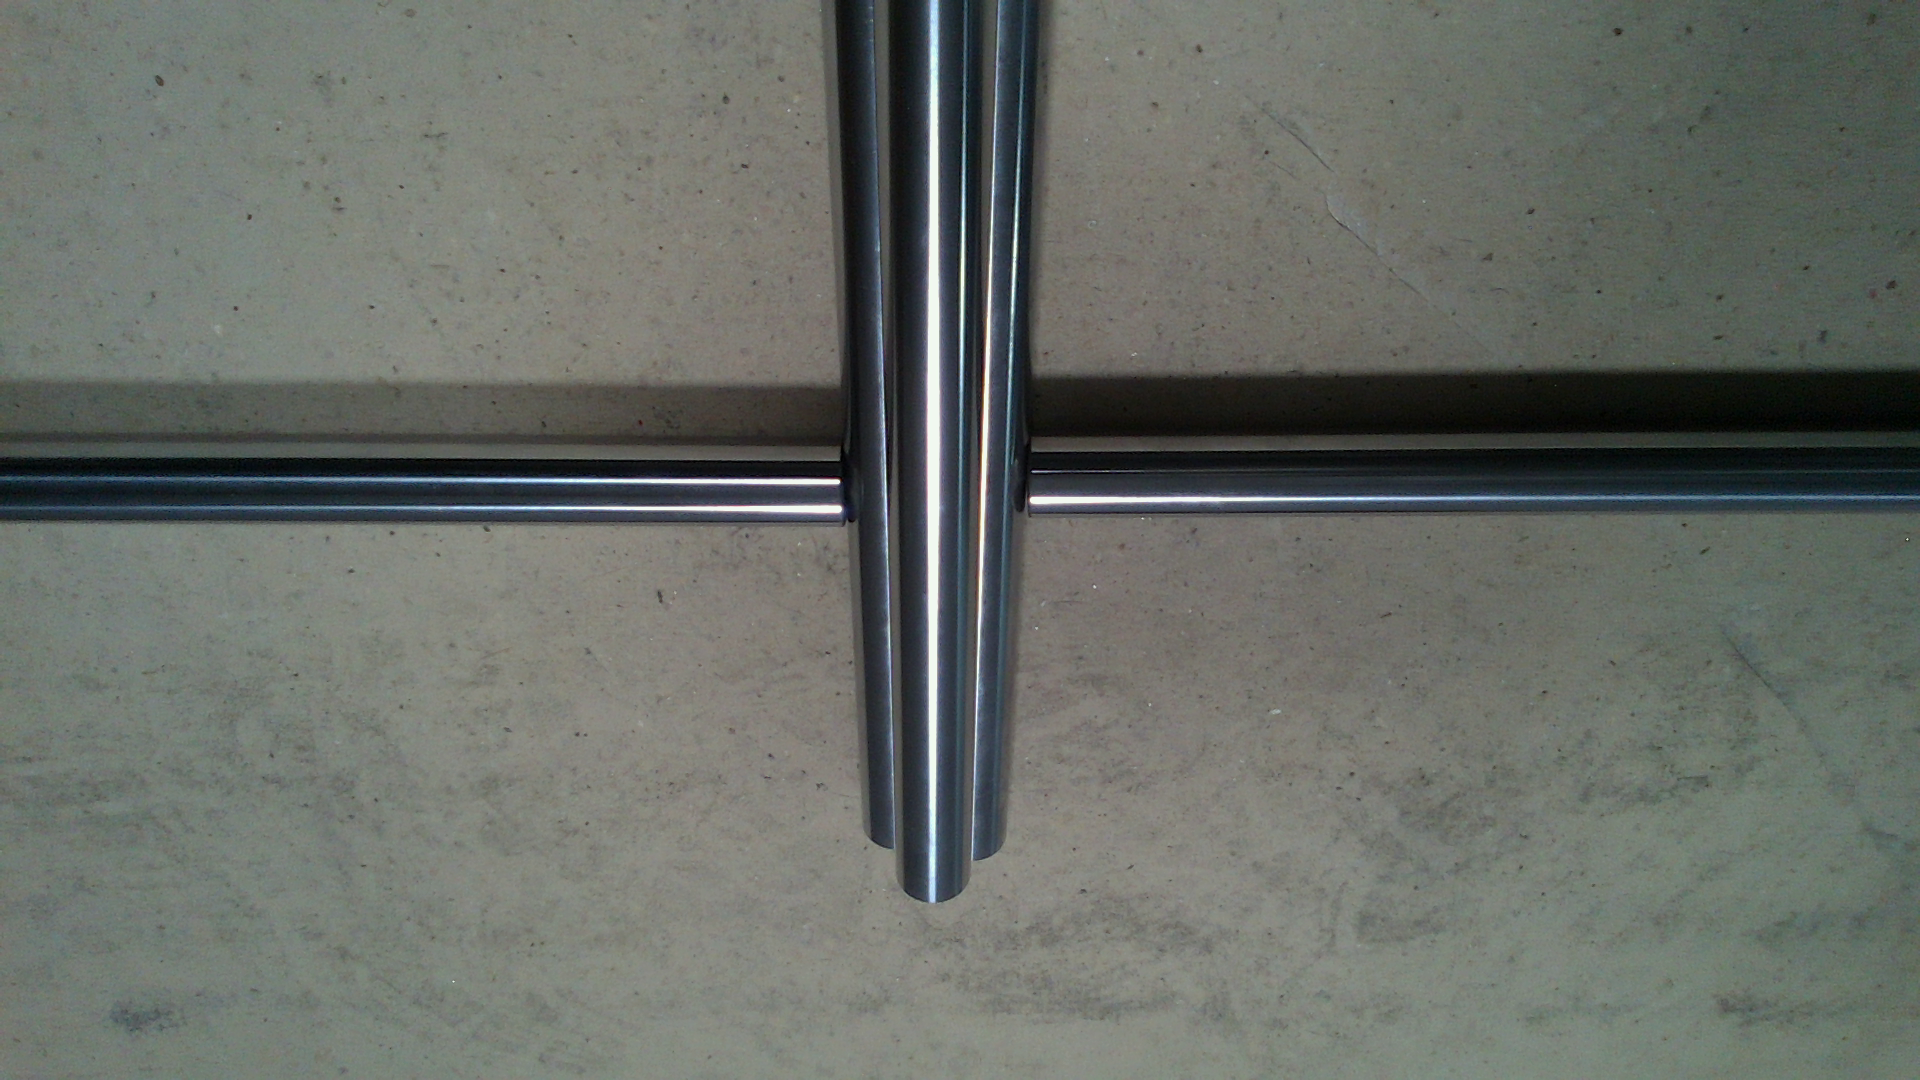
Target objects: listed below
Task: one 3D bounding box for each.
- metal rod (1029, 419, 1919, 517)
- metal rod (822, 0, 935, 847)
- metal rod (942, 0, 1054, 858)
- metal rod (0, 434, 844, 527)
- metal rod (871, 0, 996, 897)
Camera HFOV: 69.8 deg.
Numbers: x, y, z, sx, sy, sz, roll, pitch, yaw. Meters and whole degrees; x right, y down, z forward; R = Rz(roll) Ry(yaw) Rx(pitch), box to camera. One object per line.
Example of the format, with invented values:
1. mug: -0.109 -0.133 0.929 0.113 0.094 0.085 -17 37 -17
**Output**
1. metal rod: 0.169 -0.020 0.375 0.300 0.025 0.025 0 130 0
2. metal rod: -0.019 -0.019 0.376 0.025 0.025 0.300 1 130 -1
3. metal rod: 0.006 -0.014 0.379 0.025 0.025 0.300 1 130 -1
4. metal rod: -0.182 -0.016 0.376 0.300 0.025 0.025 0 130 0
5. metal rod: -0.007 -0.007 0.358 0.025 0.025 0.300 1 130 -1
